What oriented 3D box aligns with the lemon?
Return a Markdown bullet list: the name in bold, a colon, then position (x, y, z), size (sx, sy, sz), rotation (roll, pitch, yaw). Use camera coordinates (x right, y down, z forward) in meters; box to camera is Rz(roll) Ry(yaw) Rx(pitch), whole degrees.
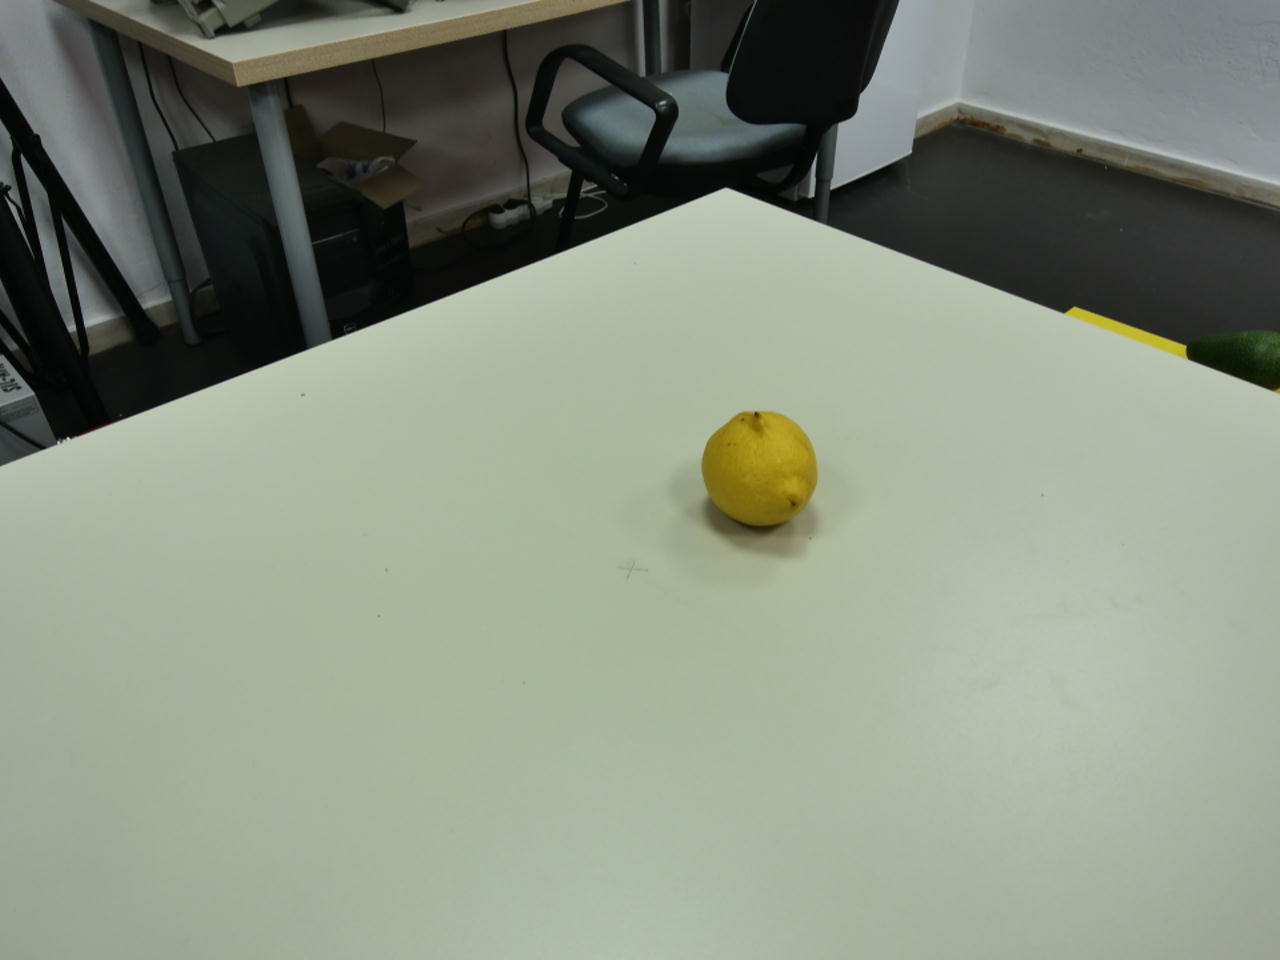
- **lemon**: position (0.071, -0.010, 0.598), size (0.070, 0.071, 0.071), rotation (9, 38, 12)
